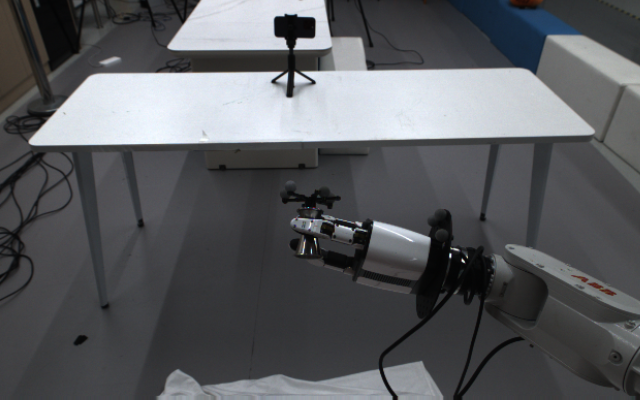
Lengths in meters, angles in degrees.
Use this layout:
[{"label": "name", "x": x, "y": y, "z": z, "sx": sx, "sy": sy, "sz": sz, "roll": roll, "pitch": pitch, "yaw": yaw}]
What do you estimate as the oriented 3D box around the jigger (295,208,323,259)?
[{"label": "jigger", "x": -0.016, "y": 0.047, "z": 0.693, "sx": 0.043, "sy": 0.043, "sz": 0.071, "roll": 3, "pitch": 76, "yaw": 1}]
